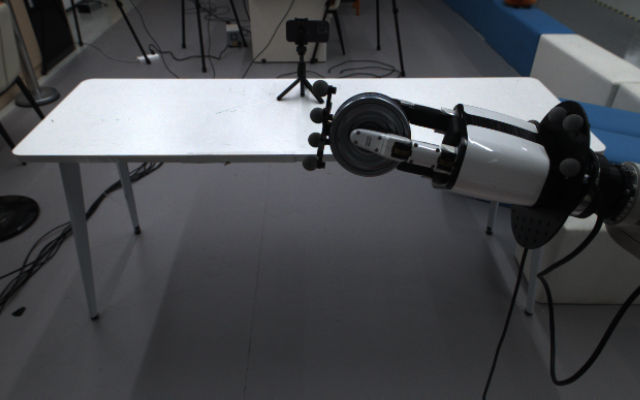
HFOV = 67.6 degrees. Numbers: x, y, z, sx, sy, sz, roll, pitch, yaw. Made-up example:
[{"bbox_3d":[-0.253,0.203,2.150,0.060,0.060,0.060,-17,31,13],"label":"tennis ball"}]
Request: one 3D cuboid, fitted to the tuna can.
[{"bbox_3d":[0.056,-0.066,0.510,0.085,0.085,0.034,4,17,3],"label":"tuna can"}]
